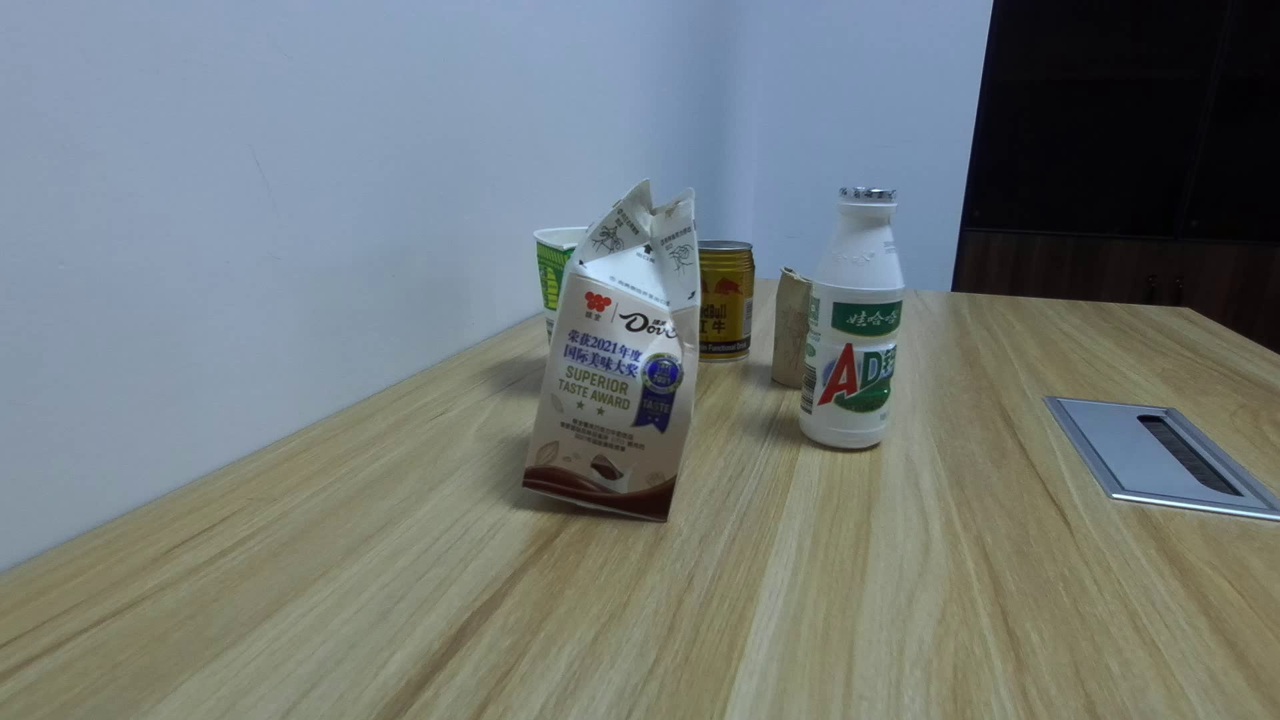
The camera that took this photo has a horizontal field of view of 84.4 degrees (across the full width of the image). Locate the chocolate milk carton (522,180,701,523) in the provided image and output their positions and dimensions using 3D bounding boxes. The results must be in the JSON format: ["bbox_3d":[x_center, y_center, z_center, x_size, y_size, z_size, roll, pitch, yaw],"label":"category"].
[{"bbox_3d":[-0.009,-0.007,0.349,0.077,0.155,0.089,6,4,3],"label":"chocolate milk carton"}]

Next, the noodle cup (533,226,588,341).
[{"bbox_3d":[-0.051,-0.061,0.638,0.087,0.109,0.093,-5,18,-19],"label":"noodle cup"}]

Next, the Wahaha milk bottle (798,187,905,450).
[{"bbox_3d":[0.123,-0.023,0.405,0.053,0.147,0.053,1,17,0],"label":"Wahaha milk bottle"}]

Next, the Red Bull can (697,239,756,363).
[{"bbox_3d":[0.062,-0.050,0.590,0.068,0.093,0.068,0,17,0],"label":"Red Bull can"}]
